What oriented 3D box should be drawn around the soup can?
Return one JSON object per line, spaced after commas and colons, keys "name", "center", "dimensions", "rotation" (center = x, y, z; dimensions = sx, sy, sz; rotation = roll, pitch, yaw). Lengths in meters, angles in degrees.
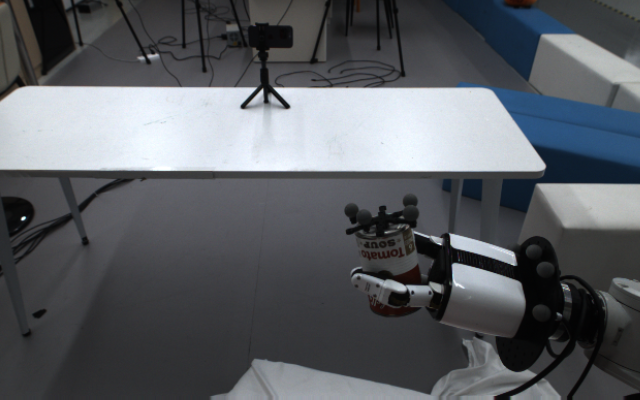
{"name": "soup can", "center": [0.084, 0.074, 0.565], "dimensions": [0.067, 0.101, 0.067], "rotation": [-12, 17, 4]}
